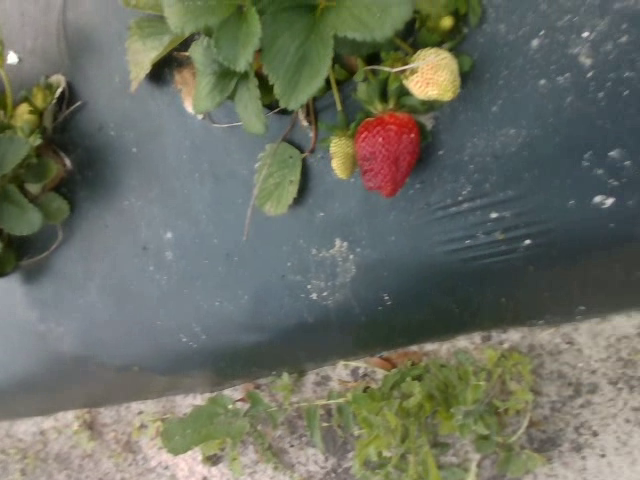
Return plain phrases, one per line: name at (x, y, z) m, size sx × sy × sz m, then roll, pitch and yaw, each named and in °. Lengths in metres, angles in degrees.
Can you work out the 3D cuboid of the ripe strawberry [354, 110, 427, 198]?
ripe strawberry at (0.044, -0.051, 0.356) m, size 0.046 × 0.059 × 0.045 m, roll -13°, pitch -23°, yaw 34°
